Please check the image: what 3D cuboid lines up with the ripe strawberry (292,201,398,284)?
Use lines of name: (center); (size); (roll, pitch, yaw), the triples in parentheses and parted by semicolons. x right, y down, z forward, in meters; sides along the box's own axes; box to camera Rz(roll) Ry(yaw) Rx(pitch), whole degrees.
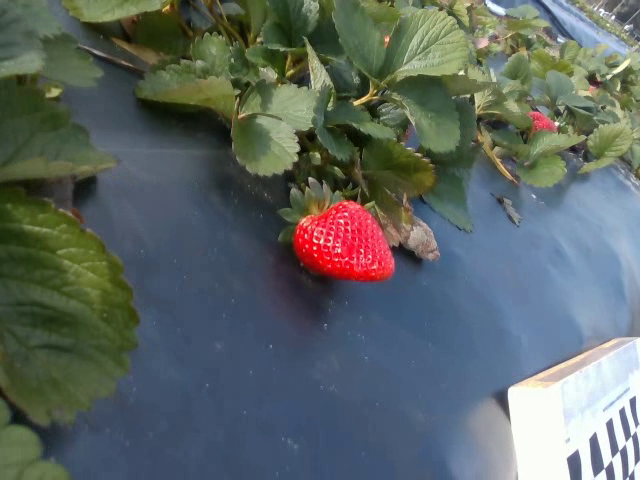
ripe strawberry: (0.014, 0.003, 0.270); (0.045, 0.051, 0.057); (8, 26, -51)
